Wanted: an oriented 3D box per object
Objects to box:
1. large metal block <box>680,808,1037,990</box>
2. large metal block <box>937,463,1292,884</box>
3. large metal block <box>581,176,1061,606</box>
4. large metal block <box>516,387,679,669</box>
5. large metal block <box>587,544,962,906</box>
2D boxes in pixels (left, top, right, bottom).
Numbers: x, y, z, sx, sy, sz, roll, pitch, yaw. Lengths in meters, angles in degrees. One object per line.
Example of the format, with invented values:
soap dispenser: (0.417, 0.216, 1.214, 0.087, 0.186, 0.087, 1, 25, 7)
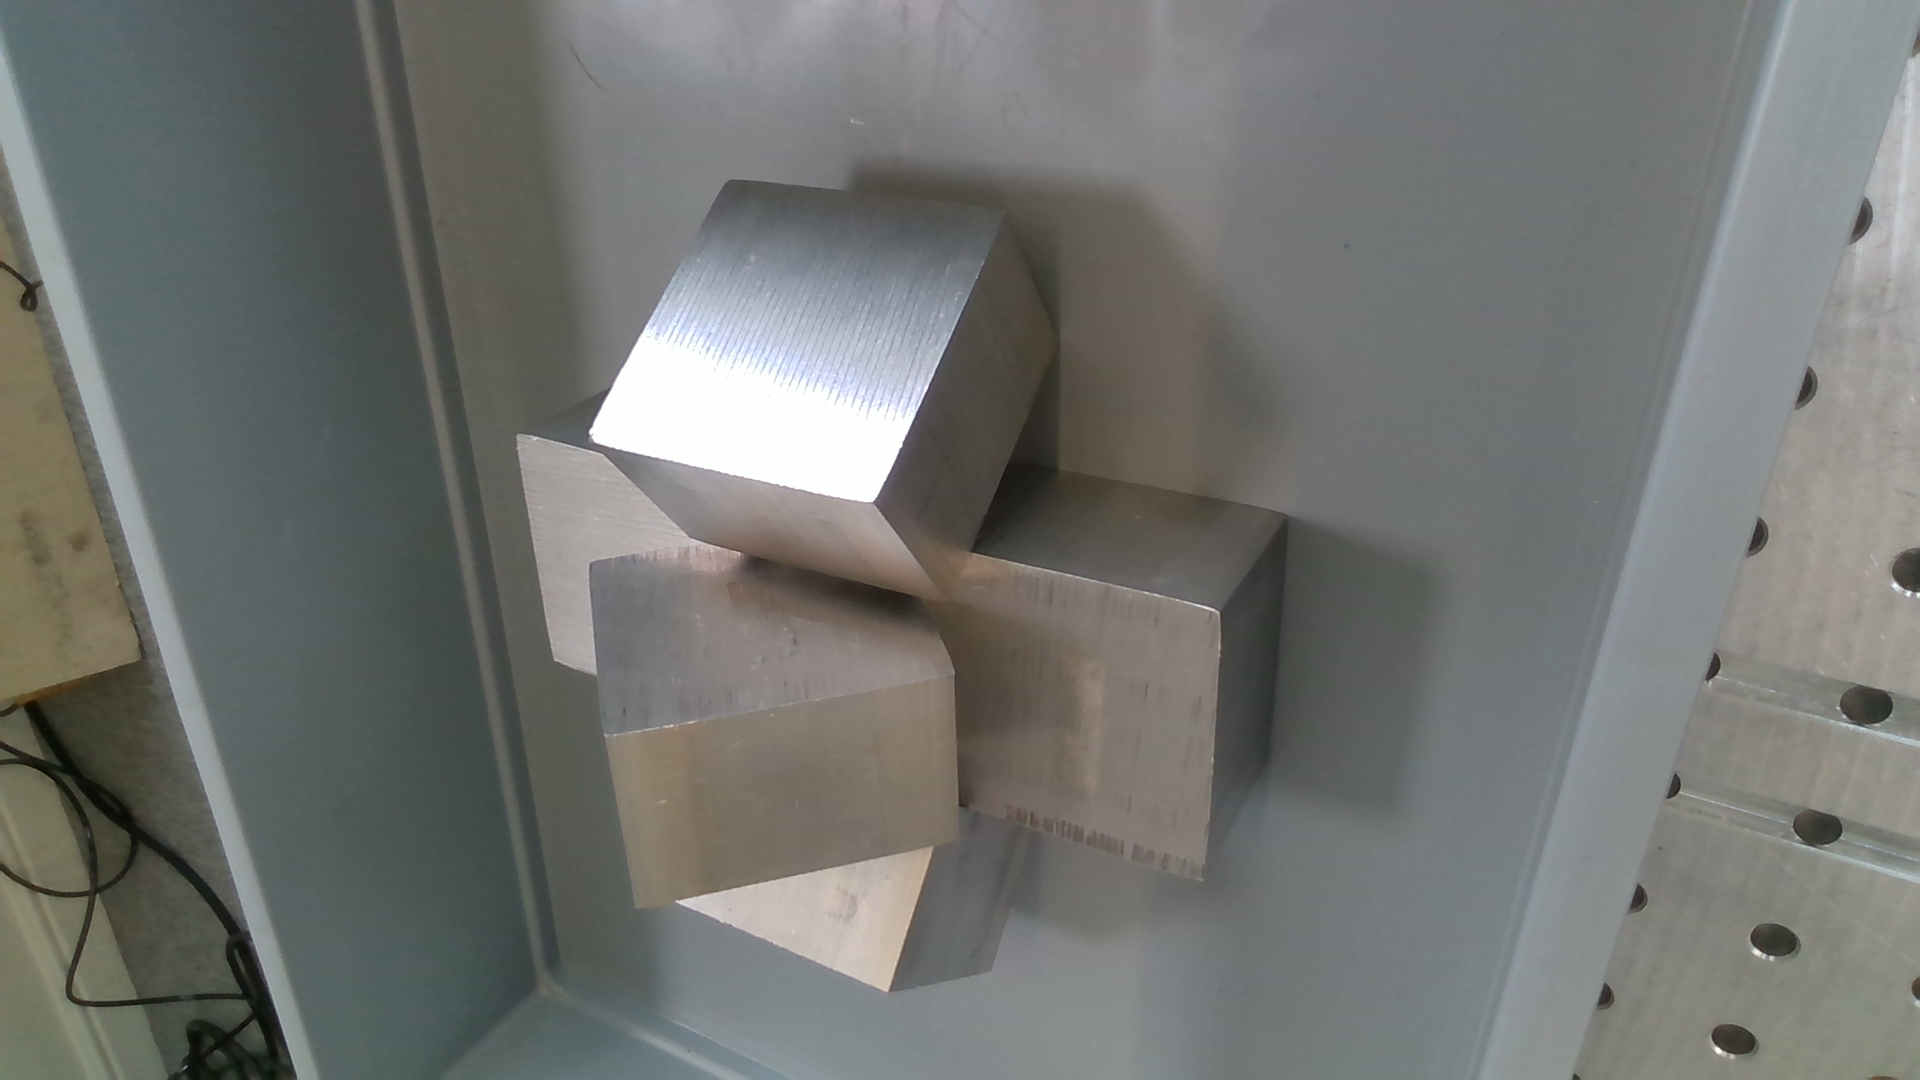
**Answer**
large metal block: (-0.031, 0.093, 0.413, 0.080, 0.080, 0.050, 15, 83, 25)
large metal block: (0.038, 0.032, 0.363, 0.080, 0.050, 0.080, 13, 121, 26)
large metal block: (-0.031, -0.039, 0.341, 0.080, 0.080, 0.050, 13, 158, 26)
large metal block: (-0.083, 0.001, 0.423, 0.080, 0.050, 0.080, 15, 122, 24)
large metal block: (-0.049, 0.039, 0.353, 0.080, 0.080, 0.050, -9, 120, -13)
